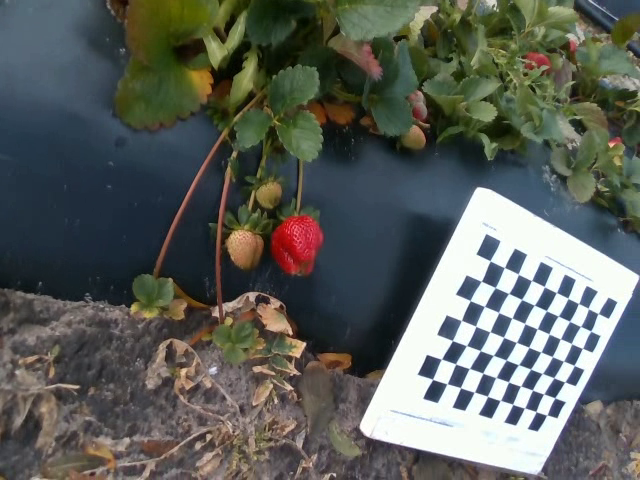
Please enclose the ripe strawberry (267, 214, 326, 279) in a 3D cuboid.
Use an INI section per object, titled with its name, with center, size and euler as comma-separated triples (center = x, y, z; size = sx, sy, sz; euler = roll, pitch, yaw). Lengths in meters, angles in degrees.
[ripe strawberry]
center = -0.017, 0.007, 0.549
size = 0.066, 0.075, 0.052
euler = 2, 16, -28
